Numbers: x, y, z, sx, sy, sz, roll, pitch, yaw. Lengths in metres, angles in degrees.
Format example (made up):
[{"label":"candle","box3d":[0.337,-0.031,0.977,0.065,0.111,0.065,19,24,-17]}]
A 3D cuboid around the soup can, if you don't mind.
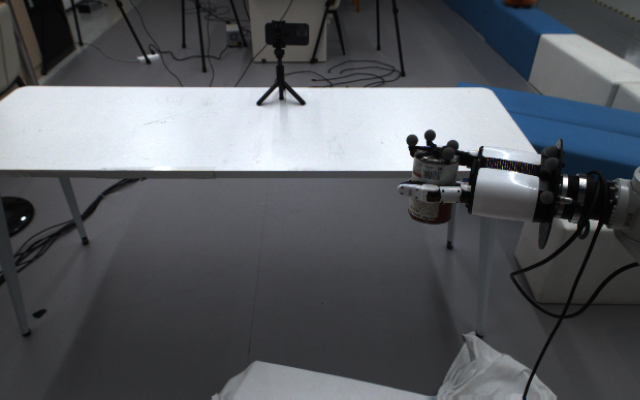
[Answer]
[{"label":"soup can","box3d":[0.173,-0.024,0.742,0.067,0.101,0.067,1,25,0]}]
